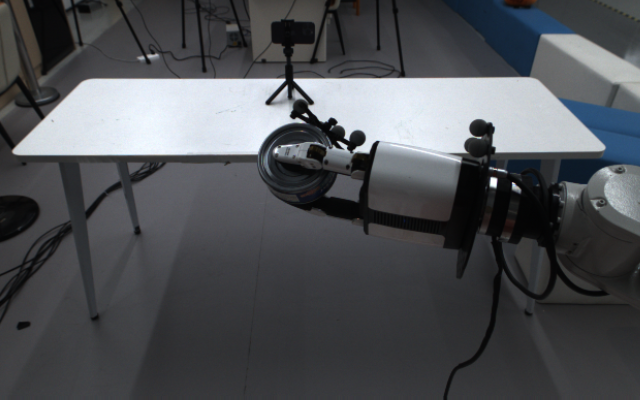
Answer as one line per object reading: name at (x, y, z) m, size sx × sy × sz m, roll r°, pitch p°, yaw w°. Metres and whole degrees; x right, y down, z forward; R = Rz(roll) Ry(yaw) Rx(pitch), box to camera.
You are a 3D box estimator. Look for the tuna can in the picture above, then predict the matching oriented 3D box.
tuna can at (-0.020, -0.036, 0.528) m, size 0.085 × 0.034 × 0.085 m, roll -4°, pitch 69°, yaw 10°
